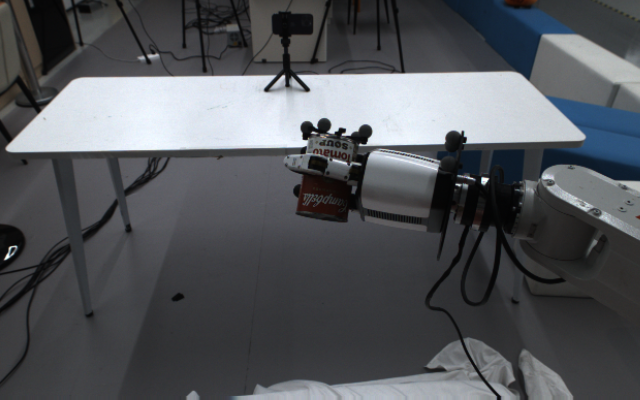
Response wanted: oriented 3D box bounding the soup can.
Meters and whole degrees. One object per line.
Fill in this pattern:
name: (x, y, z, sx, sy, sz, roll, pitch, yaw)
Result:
soup can: (0.011, -0.026, 0.618, 0.067, 0.101, 0.067, 9, -6, 1)
